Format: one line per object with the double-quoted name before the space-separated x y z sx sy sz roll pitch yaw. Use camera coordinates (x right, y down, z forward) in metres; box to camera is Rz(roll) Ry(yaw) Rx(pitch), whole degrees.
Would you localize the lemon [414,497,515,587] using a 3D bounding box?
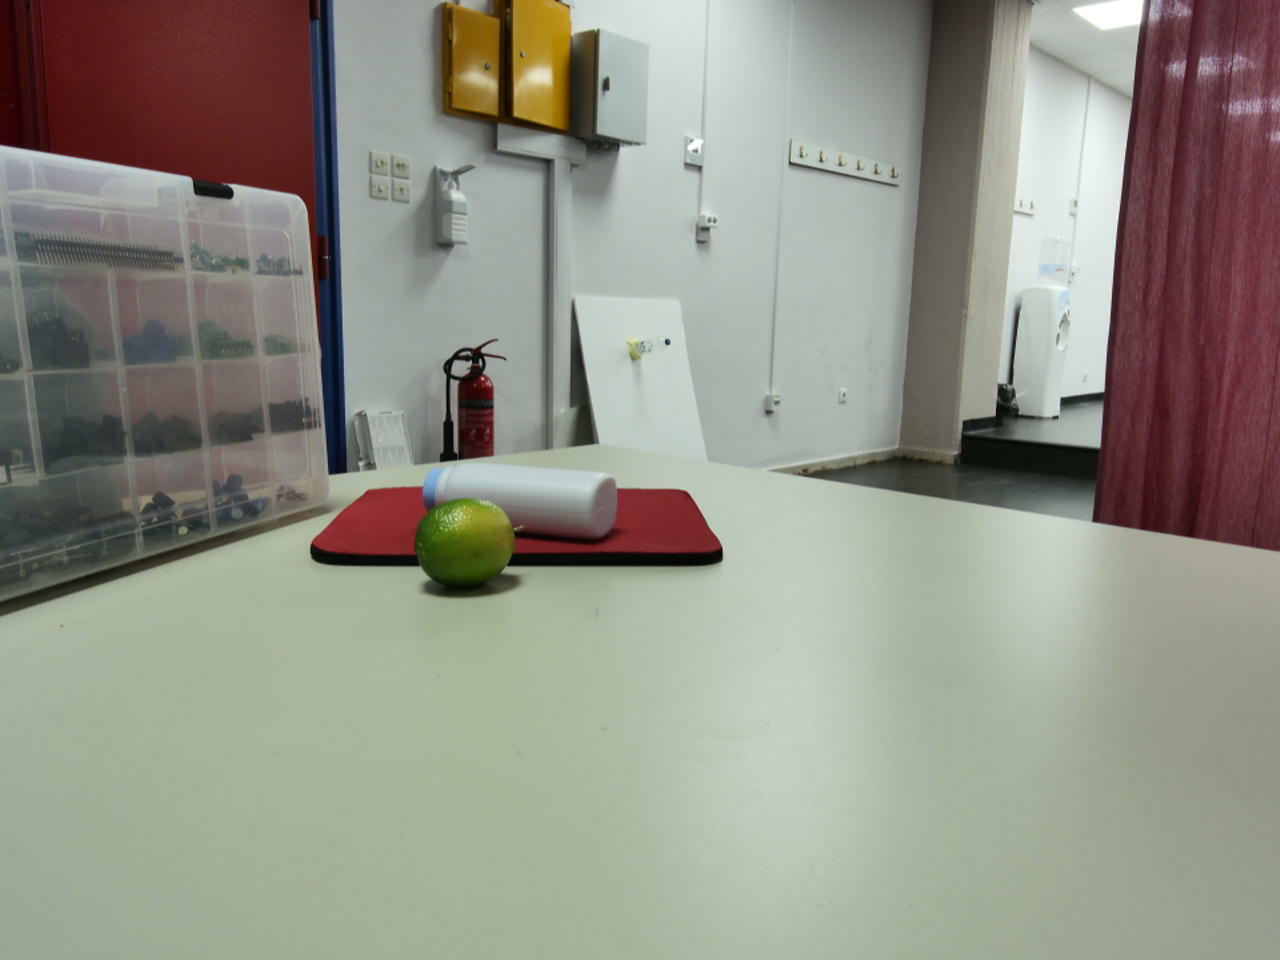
"lemon" -0.099 0.035 0.569 0.055 0.050 0.054 1 8 2
